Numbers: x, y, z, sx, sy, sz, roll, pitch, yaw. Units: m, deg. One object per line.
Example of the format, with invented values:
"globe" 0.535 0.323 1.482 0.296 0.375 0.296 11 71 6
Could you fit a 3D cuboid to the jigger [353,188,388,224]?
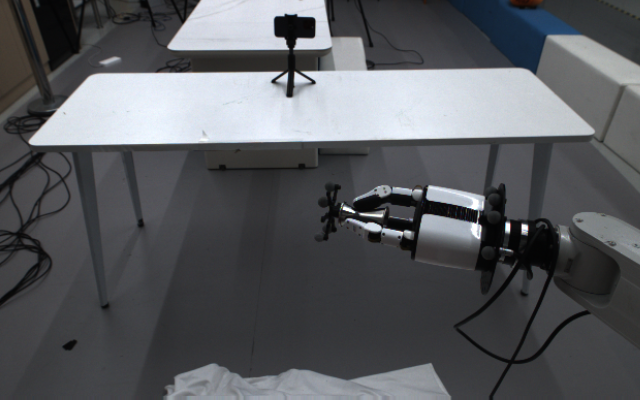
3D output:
"jigger" 0.071 0.023 0.724 0.071 0.043 0.043 9 35 17
